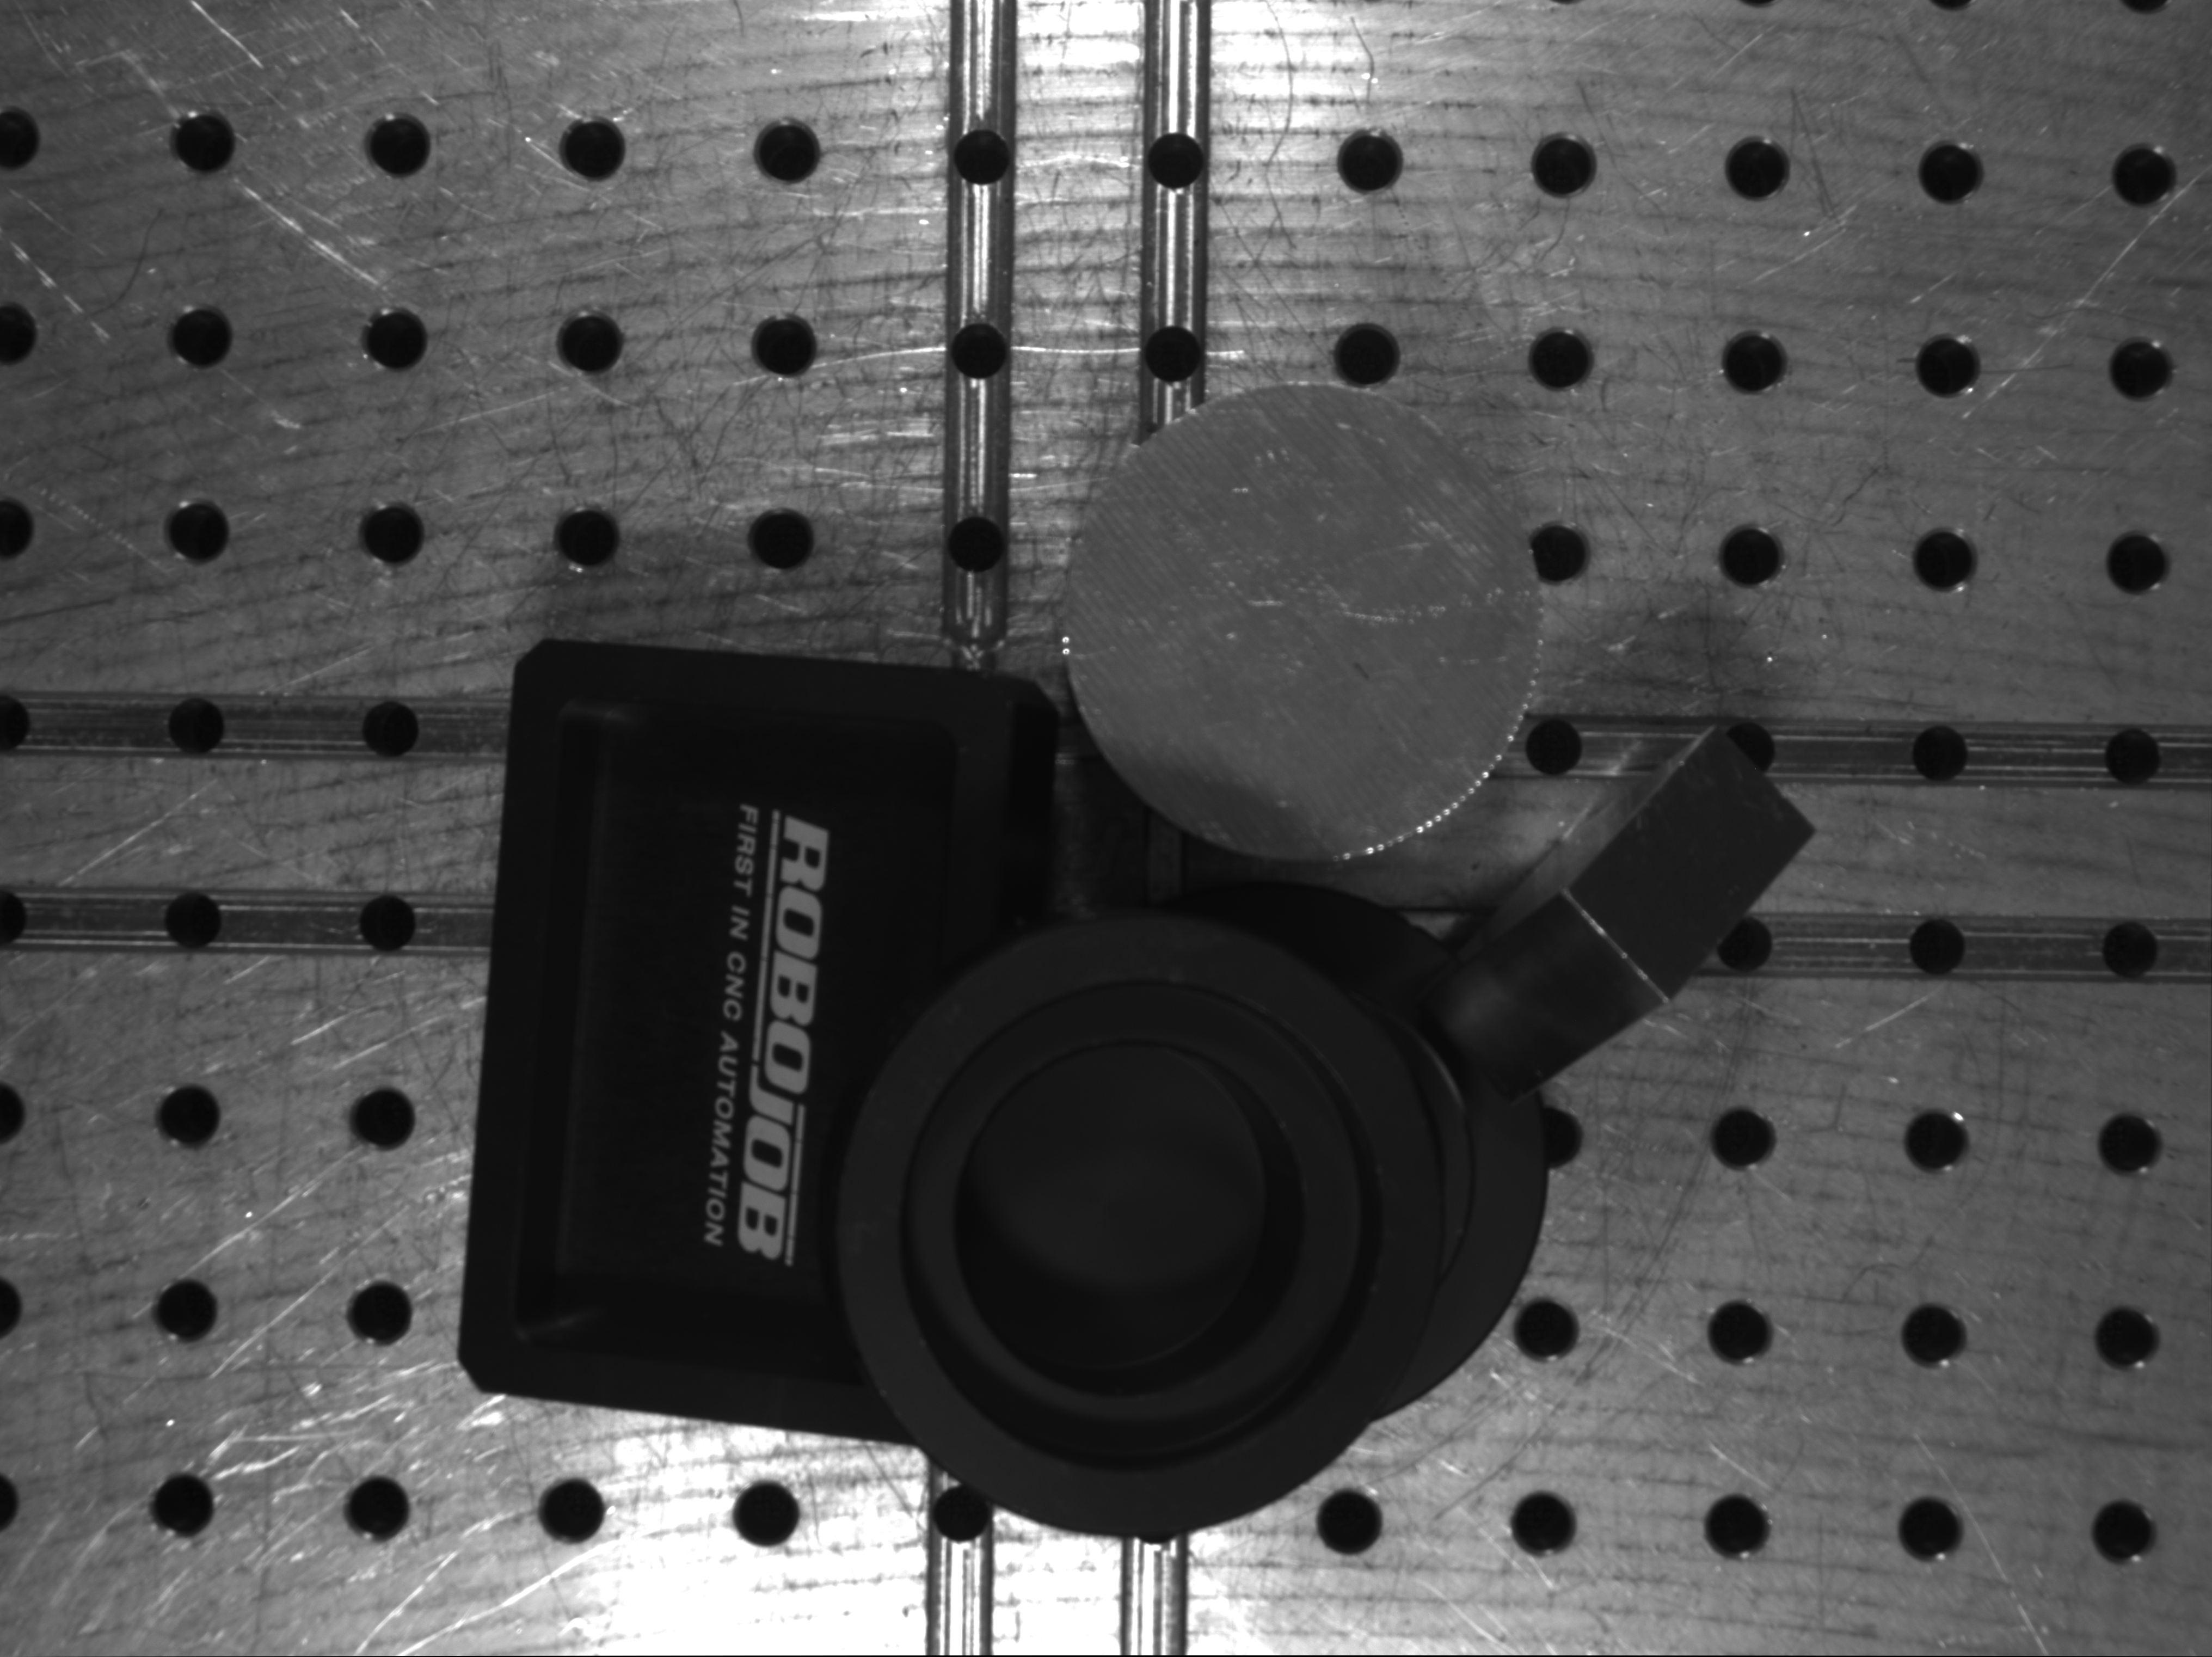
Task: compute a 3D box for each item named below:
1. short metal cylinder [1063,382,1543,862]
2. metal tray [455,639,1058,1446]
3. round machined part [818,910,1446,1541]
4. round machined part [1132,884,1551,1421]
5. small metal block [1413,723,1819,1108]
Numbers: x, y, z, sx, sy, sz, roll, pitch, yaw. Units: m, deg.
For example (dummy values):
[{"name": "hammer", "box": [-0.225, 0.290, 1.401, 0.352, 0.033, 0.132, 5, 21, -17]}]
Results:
[{"name": "short metal cylinder", "box": [0.033, -0.034, 0.635, 0.080, 0.050, 0.080, 0, 90, 0]}, {"name": "metal tray", "box": [-0.060, 0.036, 0.633, 0.090, 0.030, 0.130, 5, 90, 14]}, {"name": "round machined part", "box": [0.002, 0.062, 0.591, 0.098, 0.042, 0.098, 0, 92, -11]}, {"name": "round machined part", "box": [0.029, 0.059, 0.638, 0.098, 0.042, 0.098, 0, 90, 0]}, {"name": "small metal block", "box": [0.087, 0.015, 0.626, 0.025, 0.050, 0.050, 47, 55, 0]}]
